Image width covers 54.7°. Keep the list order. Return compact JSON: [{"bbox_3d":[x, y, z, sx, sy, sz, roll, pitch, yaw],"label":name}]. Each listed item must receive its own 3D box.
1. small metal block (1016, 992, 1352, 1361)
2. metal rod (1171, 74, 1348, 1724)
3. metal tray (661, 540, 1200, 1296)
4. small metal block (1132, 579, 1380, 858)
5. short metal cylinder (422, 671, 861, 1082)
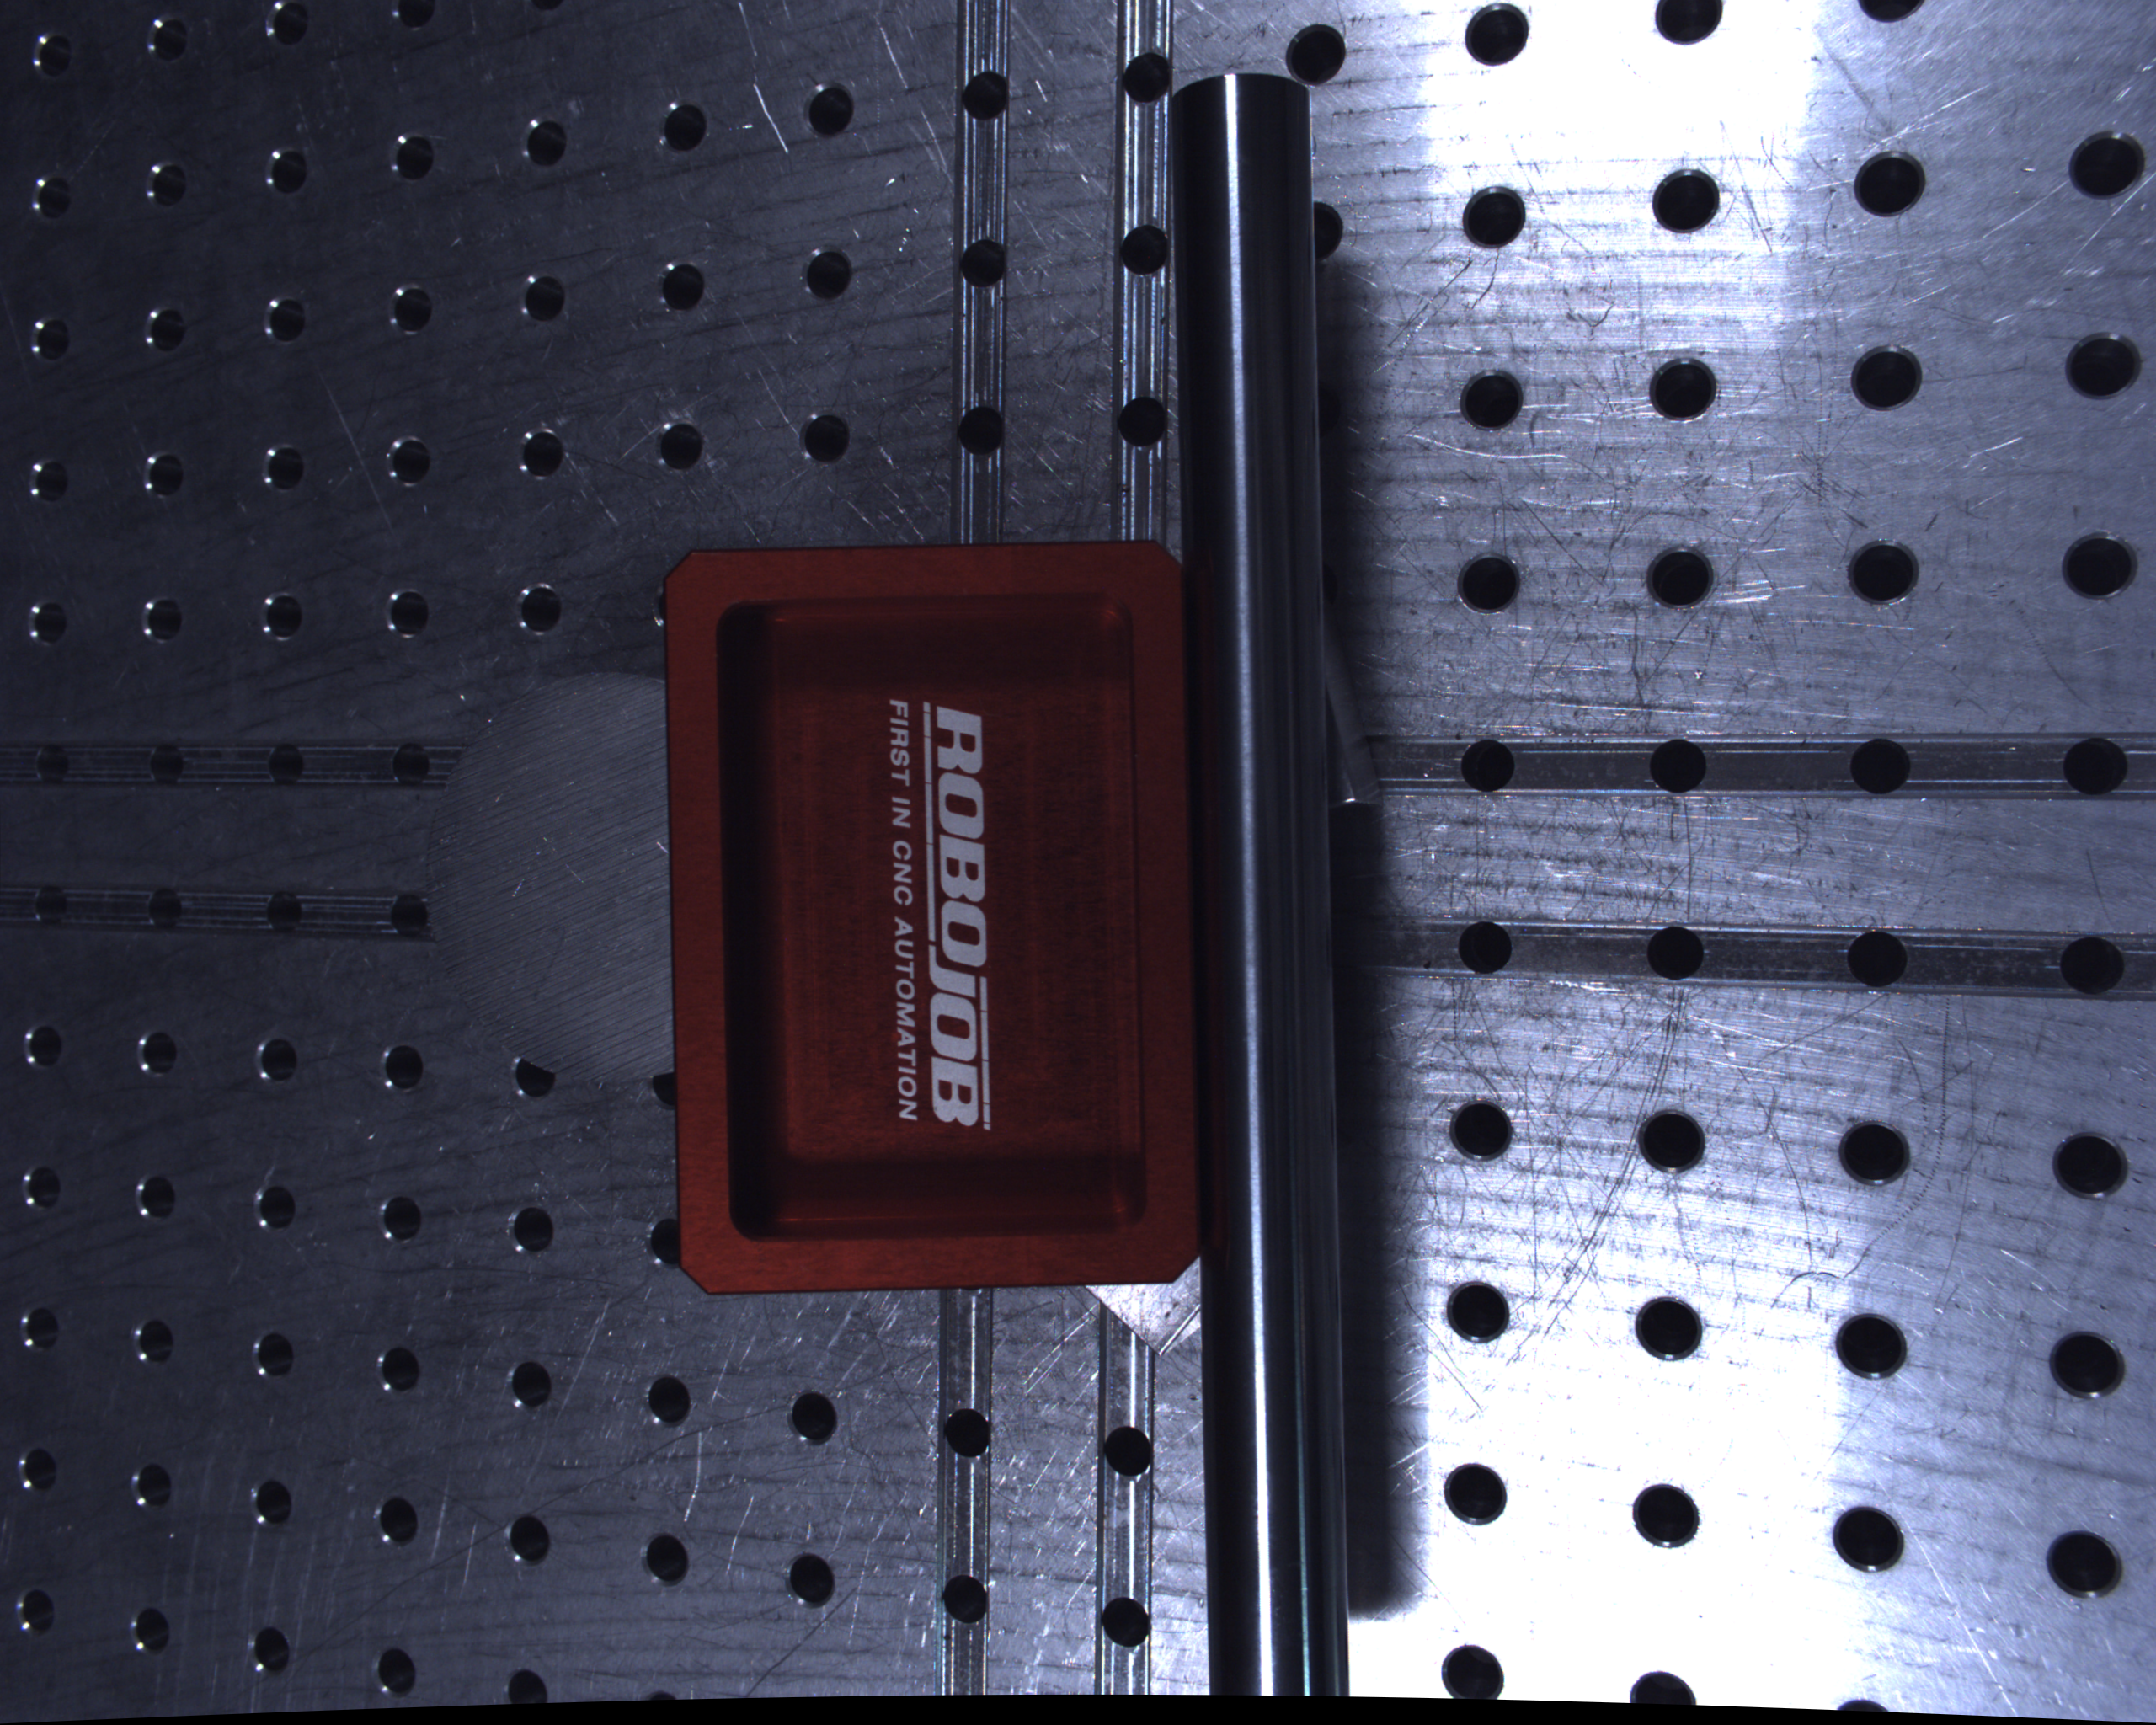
[{"bbox_3d":[0.016,0.059,0.405,0.050,0.025,0.050,41,102,15],"label":"small metal block"},{"bbox_3d":[0.033,0.012,0.373,0.025,0.025,0.298,-1,90,19],"label":"metal rod"},{"bbox_3d":[-0.026,0.009,0.376,0.091,0.030,0.129,-1,90,0],"label":"metal tray"},{"bbox_3d":[0.026,-0.029,0.403,0.050,0.025,0.050,-16,85,19],"label":"small metal block"},{"bbox_3d":[-0.085,0.002,0.427,0.080,0.050,0.079,0,90,19],"label":"short metal cylinder"}]
